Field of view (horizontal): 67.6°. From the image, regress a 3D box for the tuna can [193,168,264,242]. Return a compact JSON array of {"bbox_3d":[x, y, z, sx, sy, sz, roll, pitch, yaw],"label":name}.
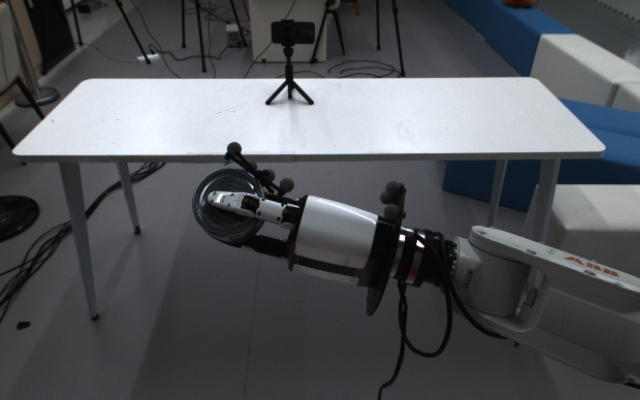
[{"bbox_3d":[-0.101,0.012,0.568,0.085,0.034,0.085,0,74,-1],"label":"tuna can"}]
